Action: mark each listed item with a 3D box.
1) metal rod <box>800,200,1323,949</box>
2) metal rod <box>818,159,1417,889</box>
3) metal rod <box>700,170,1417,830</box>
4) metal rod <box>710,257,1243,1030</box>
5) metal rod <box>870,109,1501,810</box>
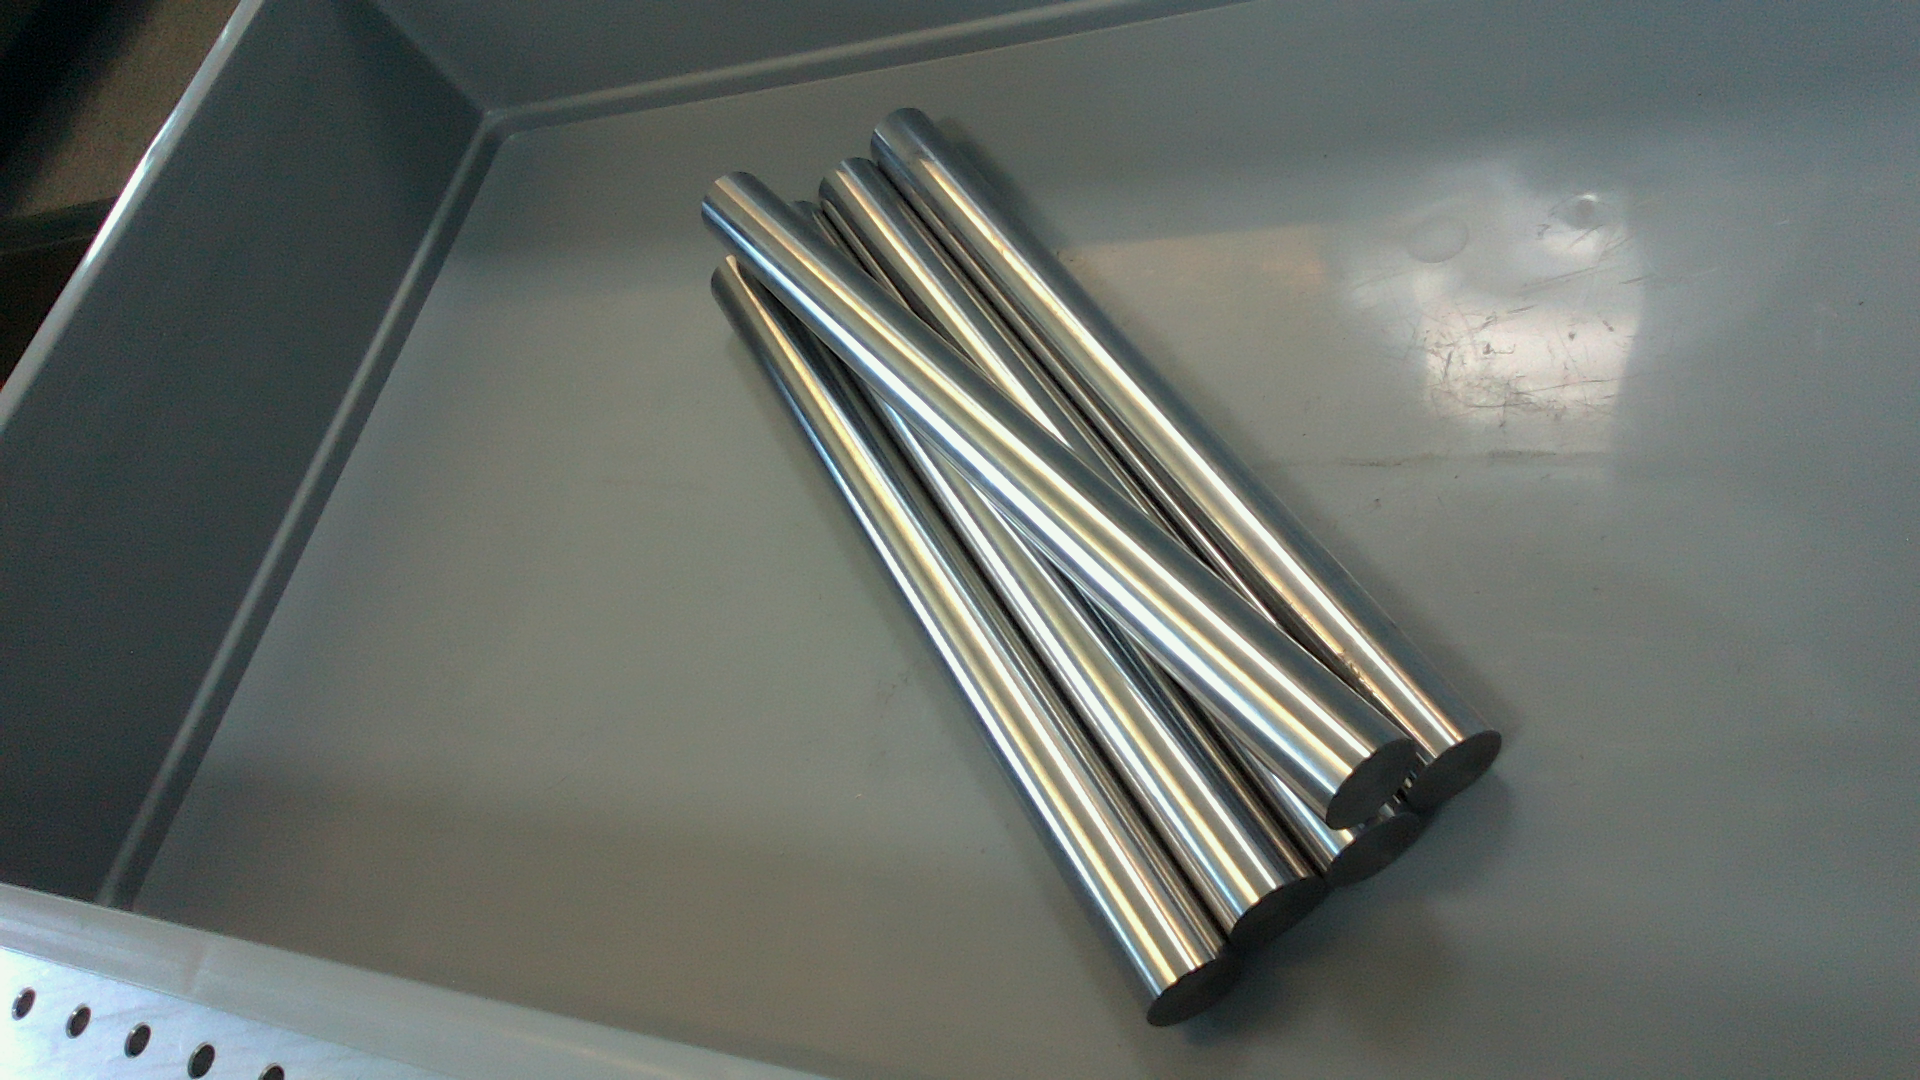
[{"bbox_3d":[0.005,-0.014,0.398,0.025,0.025,0.299,-37,51,4],"label":"metal rod"},{"bbox_3d":[0.025,-0.028,0.396,0.025,0.025,0.299,-37,51,4],"label":"metal rod"},{"bbox_3d":[0.004,-0.032,0.377,0.025,0.025,0.299,-43,51,-2],"label":"metal rod"},{"bbox_3d":[-0.013,0.004,0.397,0.025,0.025,0.299,-37,51,4],"label":"metal rod"},{"bbox_3d":[0.044,-0.046,0.397,0.025,0.025,0.299,-37,51,4],"label":"metal rod"}]
